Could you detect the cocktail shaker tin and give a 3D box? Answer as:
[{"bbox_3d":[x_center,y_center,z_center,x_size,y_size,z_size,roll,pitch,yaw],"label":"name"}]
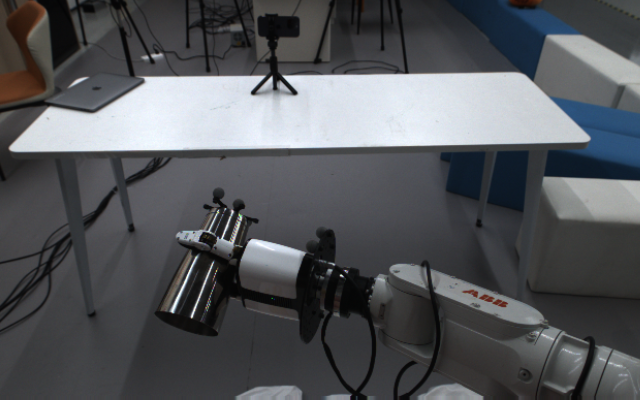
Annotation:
[{"bbox_3d":[-0.158,0.099,0.696,0.093,0.093,0.170,9,59,10],"label":"cocktail shaker tin"}]
